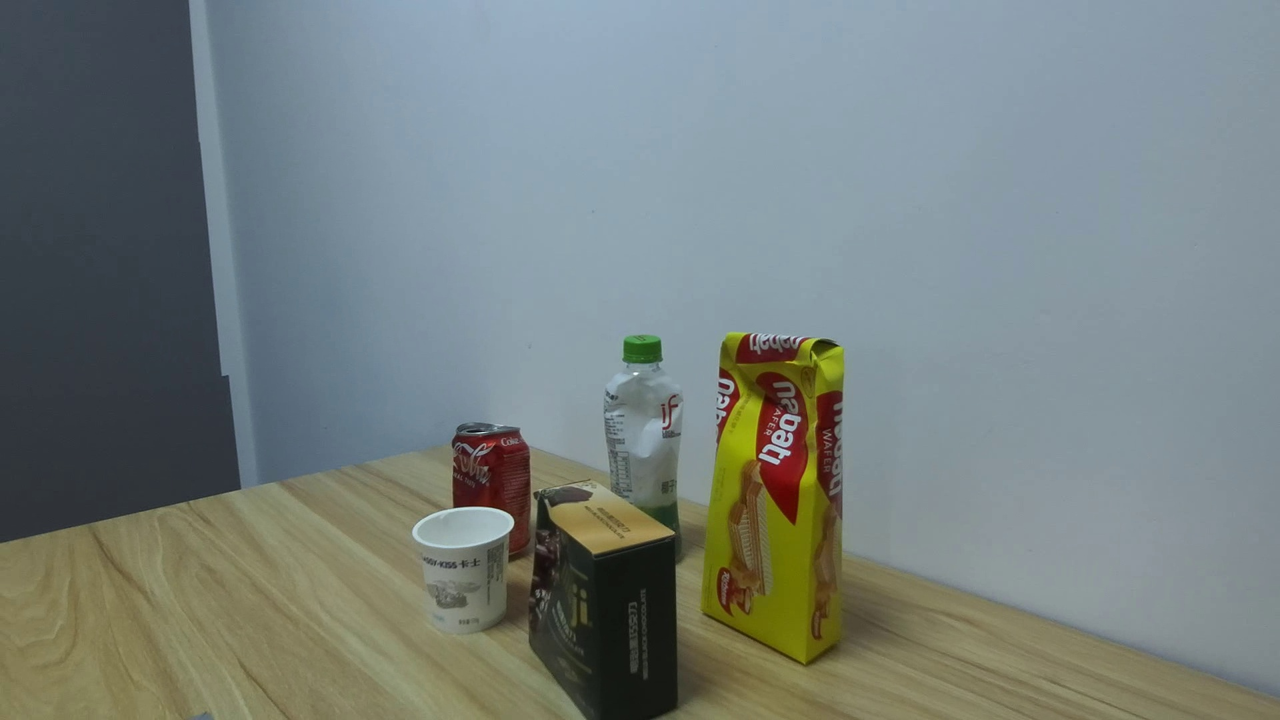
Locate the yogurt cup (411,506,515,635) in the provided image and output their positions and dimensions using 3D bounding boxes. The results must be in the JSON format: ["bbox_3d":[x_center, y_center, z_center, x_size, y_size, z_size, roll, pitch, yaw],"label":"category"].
[{"bbox_3d":[-0.123,0.150,0.504,0.072,0.068,0.072,-1,11,0],"label":"yogurt cup"}]

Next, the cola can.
[{"bbox_3d":[-0.127,0.111,0.609,0.066,0.112,0.069,-6,10,-23],"label":"cola can"}]

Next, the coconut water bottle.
[{"bbox_3d":[0.003,0.074,0.585,0.069,0.186,0.069,1,8,0],"label":"coconut water bottle"}]

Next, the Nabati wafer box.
[{"bbox_3d":[0.087,0.086,0.470,0.043,0.205,0.113,-7,10,-41],"label":"Nabati wafer box"}]
